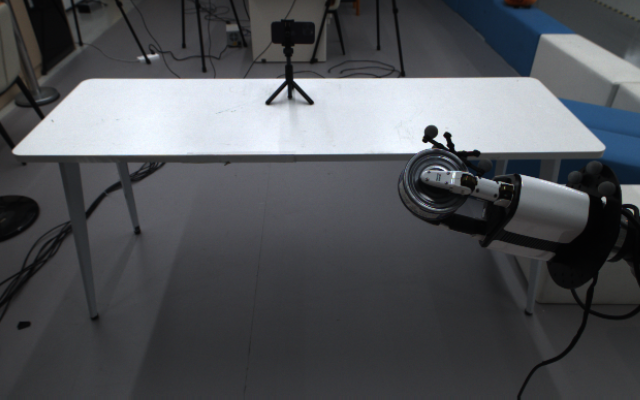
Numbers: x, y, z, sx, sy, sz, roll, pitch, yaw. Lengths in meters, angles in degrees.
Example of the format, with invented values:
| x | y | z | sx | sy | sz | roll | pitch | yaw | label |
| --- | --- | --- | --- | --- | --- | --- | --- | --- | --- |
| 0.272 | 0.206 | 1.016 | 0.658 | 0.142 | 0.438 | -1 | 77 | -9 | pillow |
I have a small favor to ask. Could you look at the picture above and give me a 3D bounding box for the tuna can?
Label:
| x | y | z | sx | sy | sz | roll | pitch | yaw | label |
| --- | --- | --- | --- | --- | --- | --- | --- | --- | --- |
| 0.145 | -0.022 | 0.604 | 0.085 | 0.034 | 0.085 | 0 | 74 | 0 | tuna can |
